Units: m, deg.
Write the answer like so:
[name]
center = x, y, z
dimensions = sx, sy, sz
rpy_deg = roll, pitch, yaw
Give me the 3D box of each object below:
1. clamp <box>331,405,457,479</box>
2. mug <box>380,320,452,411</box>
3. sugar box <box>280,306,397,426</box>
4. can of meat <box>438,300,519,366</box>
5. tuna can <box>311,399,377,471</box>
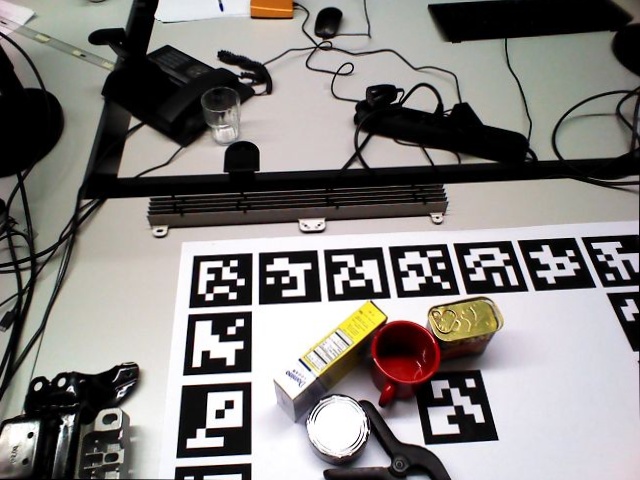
[clamp]
center = 0.112, 0.299, 0.654
dimensions = 0.165, 0.037, 0.121
rpy_deg = 28, 56, 14
[mug]
center = 0.121, 0.176, 0.702
dimensions = 0.093, 0.082, 0.116
rpy_deg = 18, 59, 12
[sugar box]
center = 0.028, 0.171, 0.710
dimensions = 0.175, 0.093, 0.045
rpy_deg = -36, 61, -24
[can of meat]
center = 0.218, 0.134, 0.740
dimensions = 0.102, 0.084, 0.057
rpy_deg = -10, 54, -8
[tuna can]
center = 0.031, 0.256, 0.679
dimensions = 0.086, 0.034, 0.085
rpy_deg = 0, 57, 0
